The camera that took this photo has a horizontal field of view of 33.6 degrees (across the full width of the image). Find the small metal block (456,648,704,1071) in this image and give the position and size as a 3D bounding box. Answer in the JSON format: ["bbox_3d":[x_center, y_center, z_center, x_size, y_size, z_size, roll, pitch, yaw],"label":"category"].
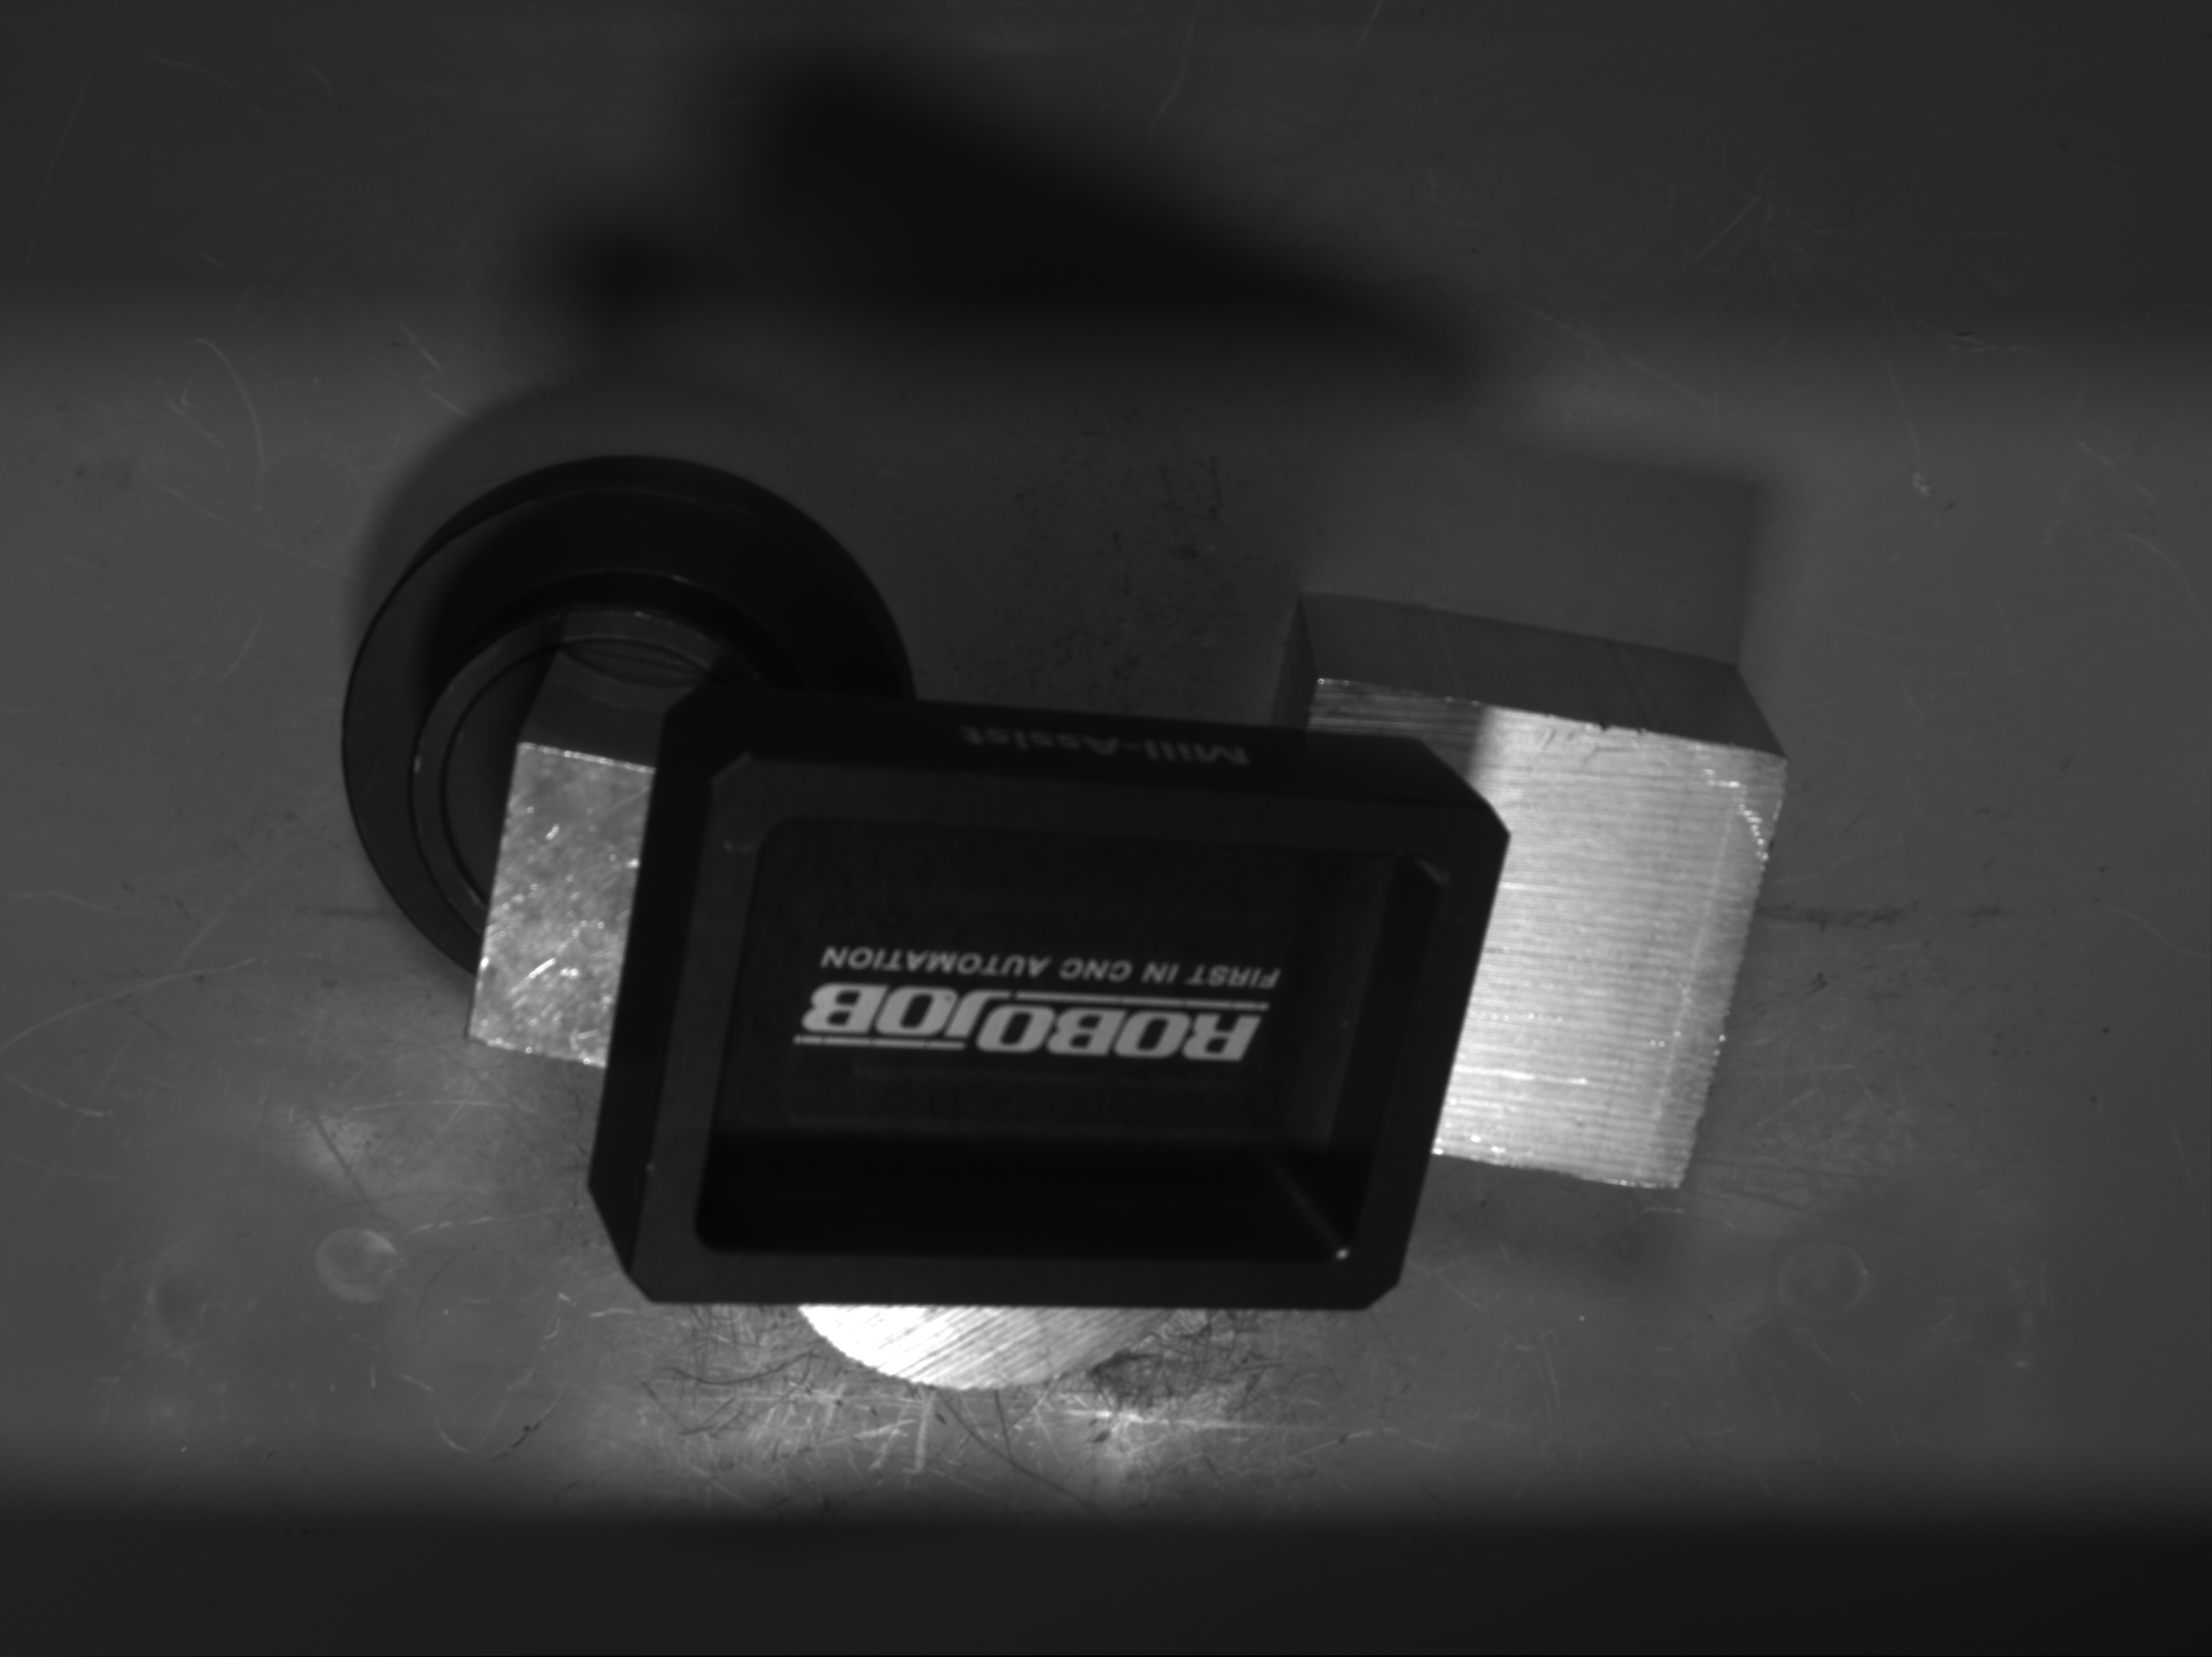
[{"bbox_3d":[-0.083,0.004,0.584,0.025,0.050,0.050,12,109,-5],"label":"small metal block"}]

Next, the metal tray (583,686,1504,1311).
[{"bbox_3d":[-0.010,0.029,0.575,0.130,0.030,0.090,3,111,-22],"label":"metal tray"}]

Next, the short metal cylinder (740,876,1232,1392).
[{"bbox_3d":[-0.023,0.050,0.634,0.080,0.050,0.080,-7,124,-10],"label":"short metal cylinder"}]

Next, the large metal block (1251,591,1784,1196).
[{"bbox_3d":[0.064,0.011,0.632,0.080,0.050,0.080,9,110,-4],"label":"large metal block"}]

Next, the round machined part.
[{"bbox_3d":[-0.083,-0.011,0.628,0.098,0.042,0.098,0,110,-1],"label":"round machined part"}]
